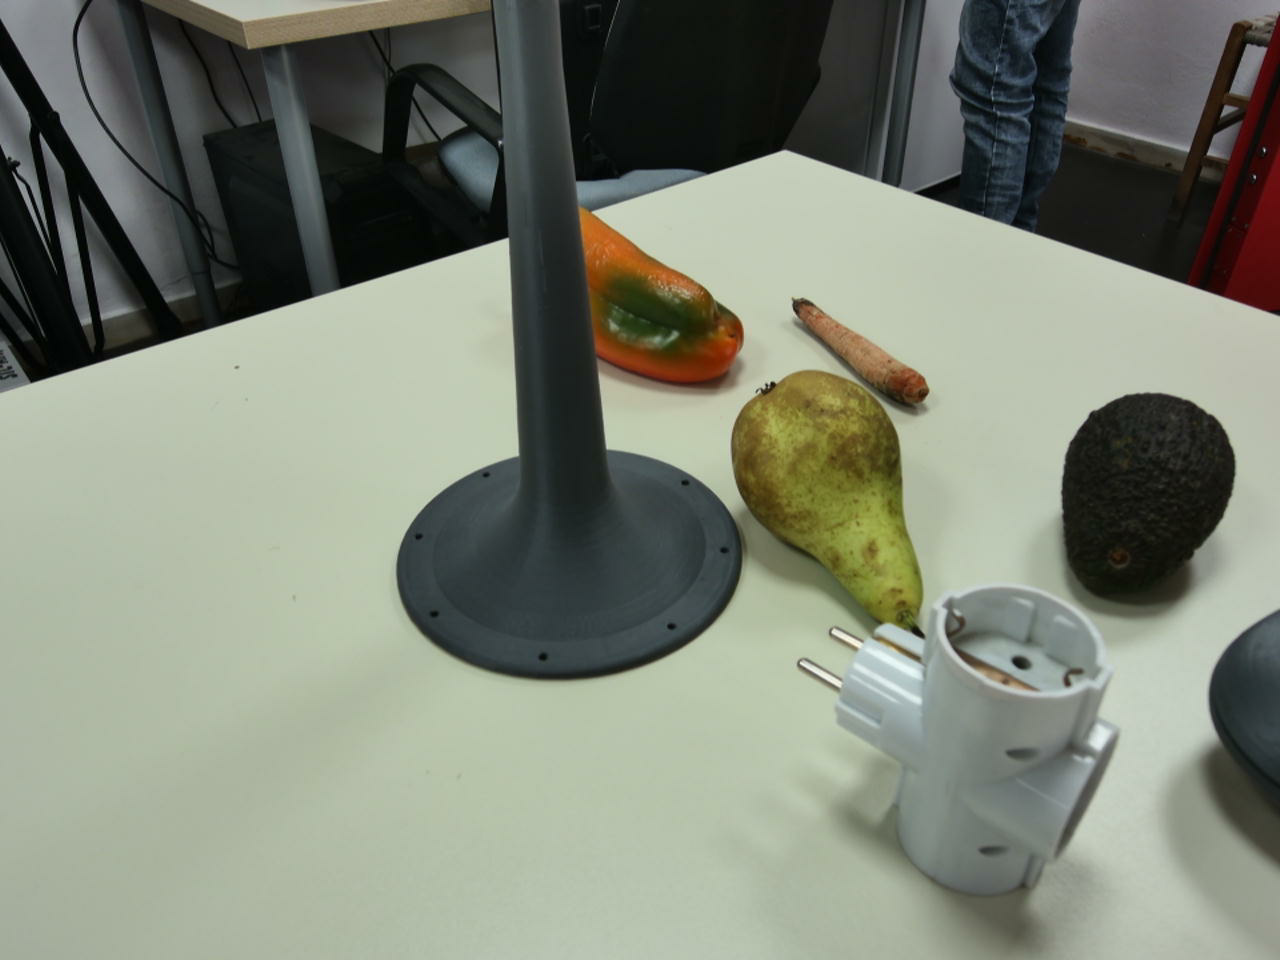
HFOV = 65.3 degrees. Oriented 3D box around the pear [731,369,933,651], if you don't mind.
[{"bbox_3d":[0.093,0.007,0.409,0.071,0.075,0.144,-19,39,-24],"label":"pear"}]
